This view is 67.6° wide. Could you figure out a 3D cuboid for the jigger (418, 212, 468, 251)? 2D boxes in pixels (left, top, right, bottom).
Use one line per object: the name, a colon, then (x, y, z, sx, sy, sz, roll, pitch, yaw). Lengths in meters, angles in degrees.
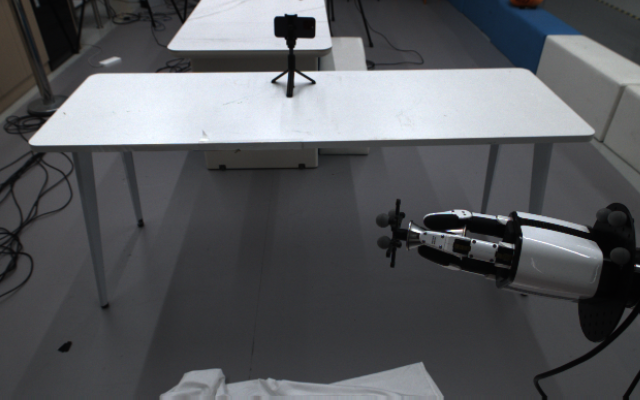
jigger: (0.152, 0.043, 0.605, 0.071, 0.043, 0.043, 5, 34, 19)
